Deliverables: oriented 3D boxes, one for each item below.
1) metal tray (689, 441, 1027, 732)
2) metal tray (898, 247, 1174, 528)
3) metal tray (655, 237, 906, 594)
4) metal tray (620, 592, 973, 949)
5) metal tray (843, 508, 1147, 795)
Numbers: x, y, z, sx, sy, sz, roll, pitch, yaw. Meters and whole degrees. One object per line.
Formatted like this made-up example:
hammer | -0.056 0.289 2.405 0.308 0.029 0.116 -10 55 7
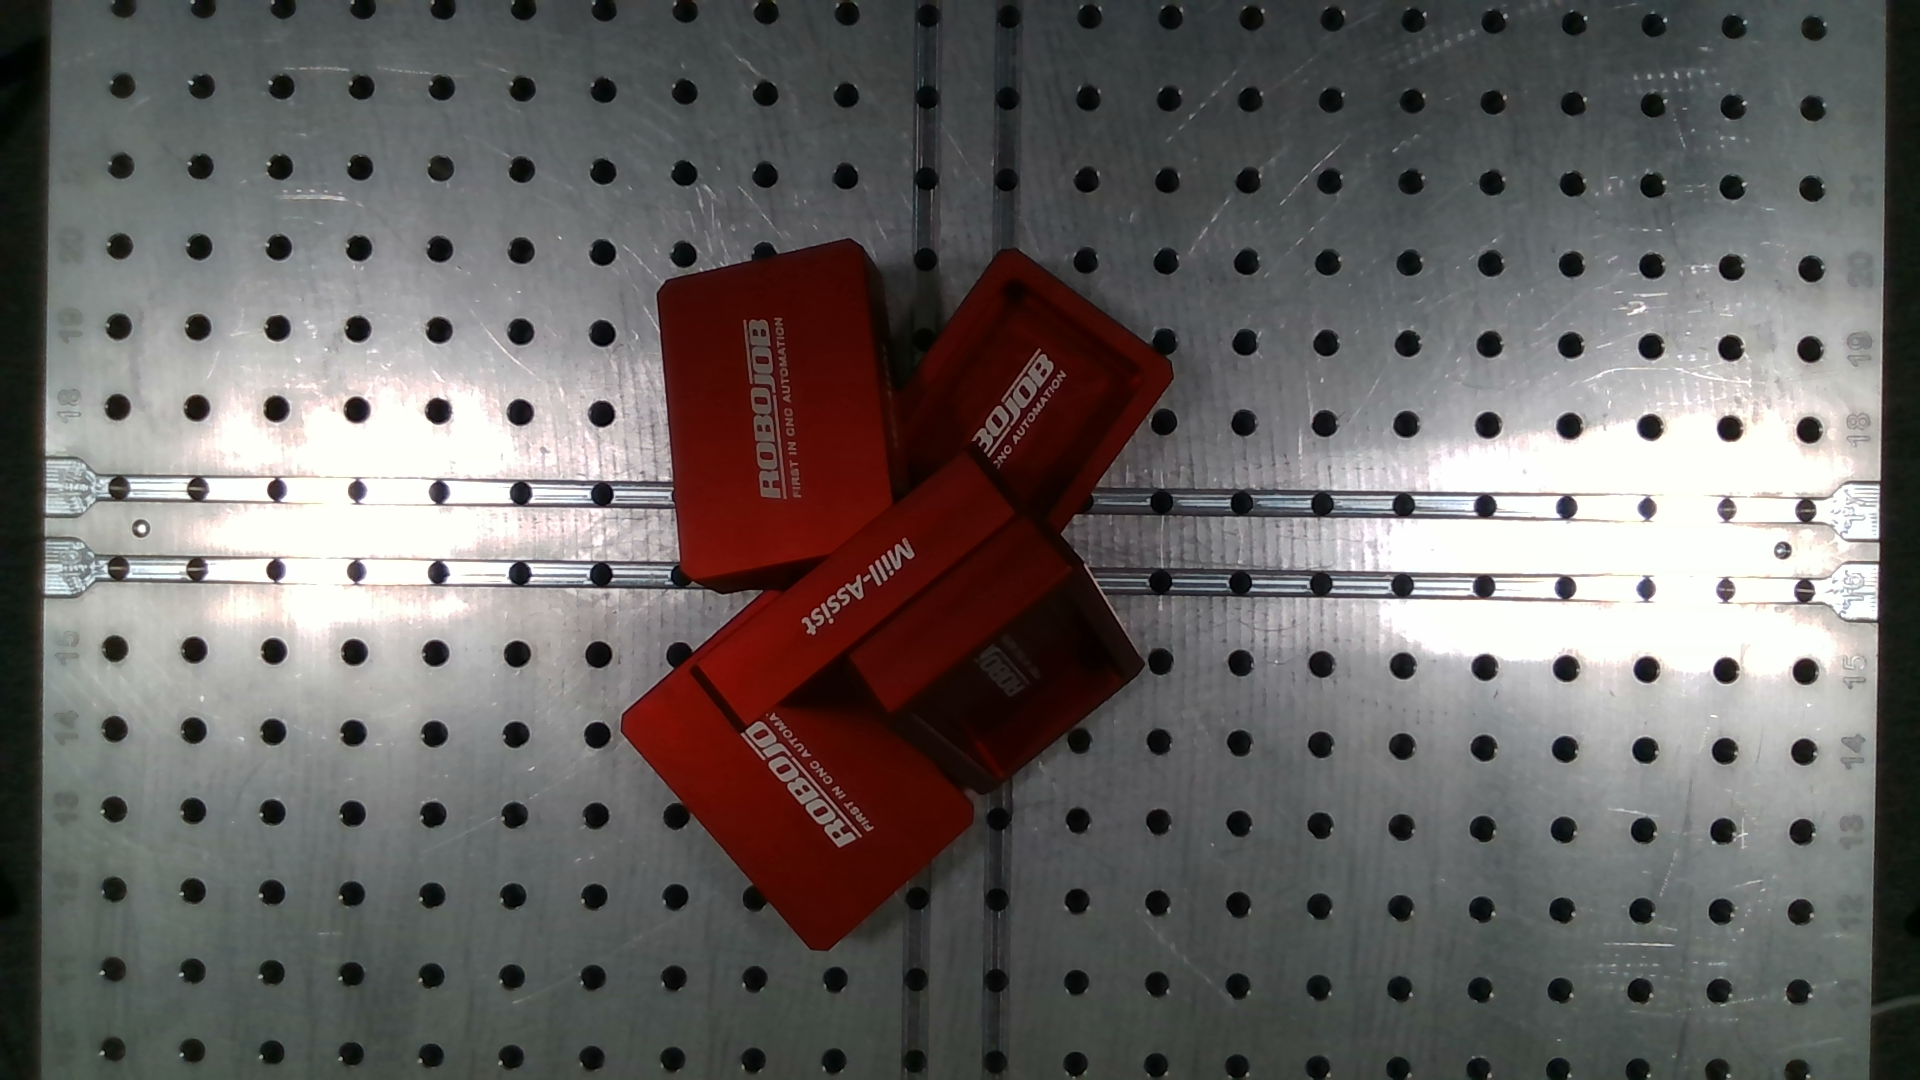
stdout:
metal tray | -0.036 0.017 0.526 0.130 0.090 0.030 -38 90 0
metal tray | 0.017 -0.046 0.586 0.090 0.030 0.130 36 90 0
metal tray | -0.072 -0.050 0.562 0.090 0.030 0.130 -11 76 10
metal tray | -0.068 0.095 0.586 0.090 0.030 0.130 -41 90 0
metal tray | 0.019 0.049 0.538 0.090 0.130 0.030 -38 62 0
